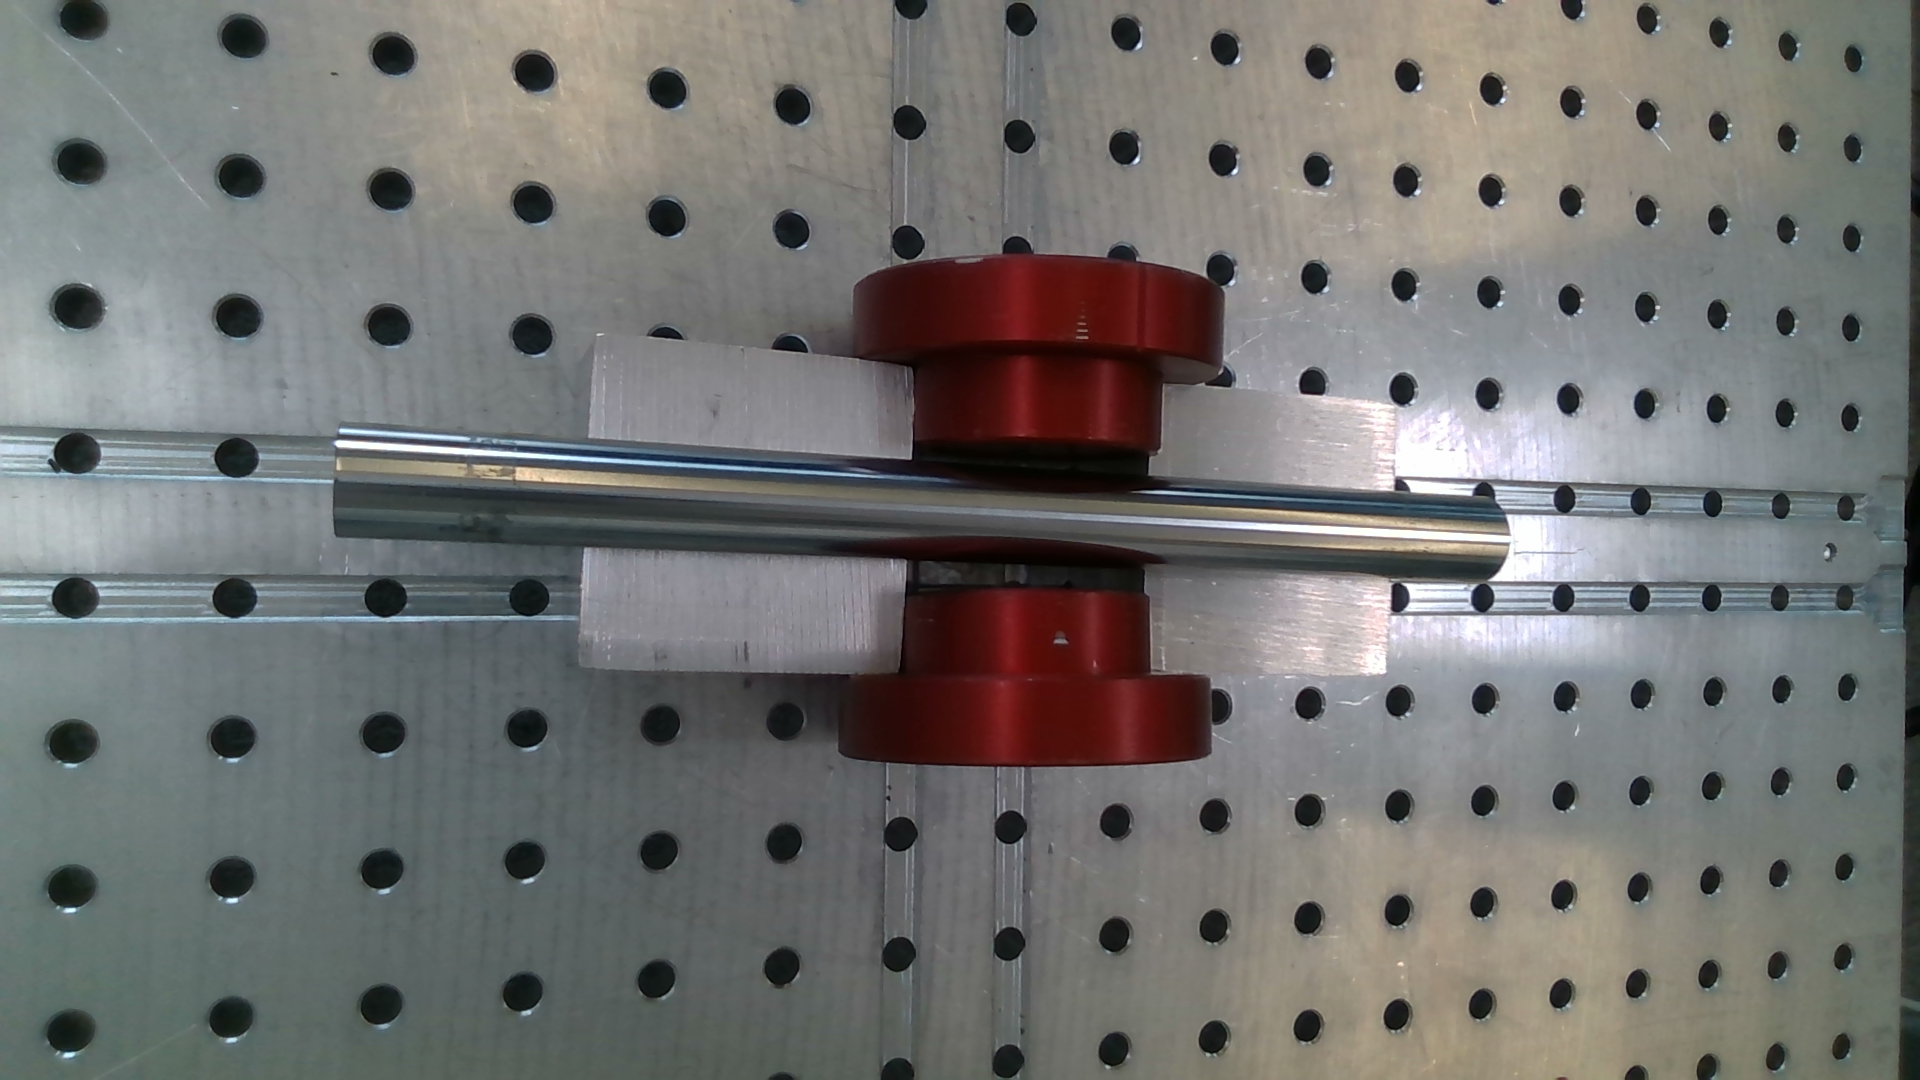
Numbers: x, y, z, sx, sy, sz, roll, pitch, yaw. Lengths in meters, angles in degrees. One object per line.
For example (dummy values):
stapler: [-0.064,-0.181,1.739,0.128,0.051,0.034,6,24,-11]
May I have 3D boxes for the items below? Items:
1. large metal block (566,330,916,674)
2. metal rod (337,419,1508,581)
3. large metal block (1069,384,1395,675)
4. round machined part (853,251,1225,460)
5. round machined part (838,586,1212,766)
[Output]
large metal block: [-0.059,-0.007,0.361,0.080,0.050,0.080,3,89,-20]
metal rod: [0.009,-0.007,0.346,0.300,0.025,0.025,3,89,-20]
large metal block: [0.080,-0.002,0.412,0.080,0.050,0.080,2,89,-20]
round machined part: [0.020,-0.045,0.364,0.098,0.098,0.042,2,89,-20]
round machined part: [0.017,0.035,0.364,0.098,0.098,0.042,2,84,-20]
